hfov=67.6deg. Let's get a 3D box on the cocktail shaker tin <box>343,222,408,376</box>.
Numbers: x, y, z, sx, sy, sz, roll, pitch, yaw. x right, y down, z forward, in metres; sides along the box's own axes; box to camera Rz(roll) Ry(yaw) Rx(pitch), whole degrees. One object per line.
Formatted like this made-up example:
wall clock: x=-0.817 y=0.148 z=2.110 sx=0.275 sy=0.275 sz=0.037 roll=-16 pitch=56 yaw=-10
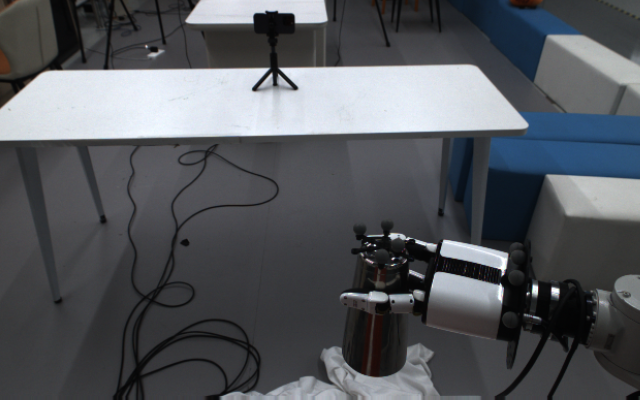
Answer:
cocktail shaker tin: x=0.081 y=0.140 z=0.658 sx=0.093 sy=0.170 sz=0.093 roll=2 pitch=26 yaw=-1
